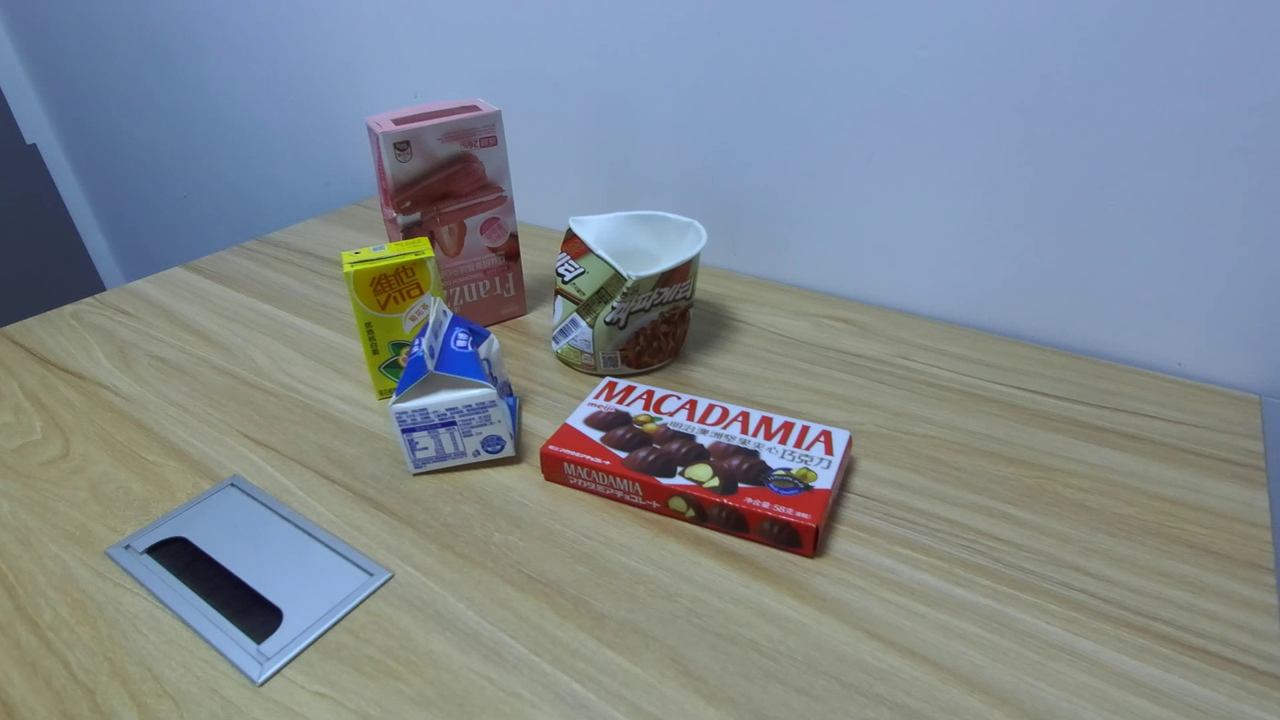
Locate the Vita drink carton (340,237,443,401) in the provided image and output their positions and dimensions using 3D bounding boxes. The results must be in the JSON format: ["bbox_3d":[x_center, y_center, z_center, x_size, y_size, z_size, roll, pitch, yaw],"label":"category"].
[{"bbox_3d":[-0.180,-0.030,0.537,0.067,0.109,0.043,-14,31,-18],"label":"Vita drink carton"}]

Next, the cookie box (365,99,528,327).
[{"bbox_3d":[-0.160,-0.114,0.594,0.105,0.188,0.048,-20,37,-25],"label":"cookie box"}]

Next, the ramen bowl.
[{"bbox_3d":[-0.009,-0.054,0.572,0.137,0.098,0.137,0,35,1],"label":"ramen bowl"}]

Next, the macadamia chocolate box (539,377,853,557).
[{"bbox_3d":[0.036,0.061,0.452,0.177,0.027,0.096,12,34,23],"label":"macadamia chocolate box"}]

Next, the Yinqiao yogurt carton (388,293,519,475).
[{"bbox_3d":[-0.126,0.014,0.475,0.071,0.094,0.077,-9,32,-2],"label":"Yinqiao yogurt carton"}]
